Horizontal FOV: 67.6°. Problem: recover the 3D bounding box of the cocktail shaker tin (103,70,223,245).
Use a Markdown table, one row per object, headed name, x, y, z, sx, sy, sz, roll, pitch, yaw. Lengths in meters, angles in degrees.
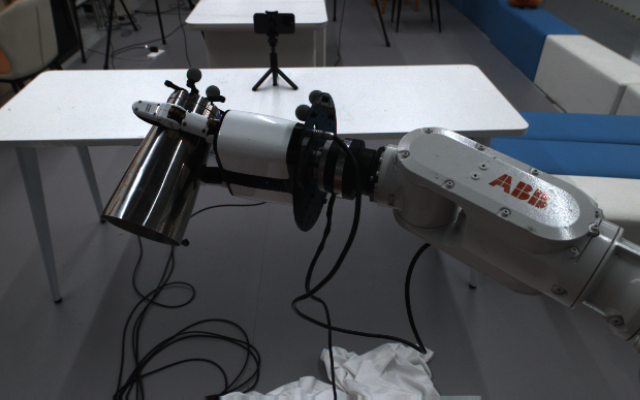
| name | x | y | z | sx | sy | sz | roll | pitch | yaw |
| --- | --- | --- | --- | --- | --- | --- | --- | --- | --- |
| cocktail shaker tin | -0.178 | -0.043 | 0.578 | 0.093 | 0.093 | 0.170 | 13 | 72 | 15 |
